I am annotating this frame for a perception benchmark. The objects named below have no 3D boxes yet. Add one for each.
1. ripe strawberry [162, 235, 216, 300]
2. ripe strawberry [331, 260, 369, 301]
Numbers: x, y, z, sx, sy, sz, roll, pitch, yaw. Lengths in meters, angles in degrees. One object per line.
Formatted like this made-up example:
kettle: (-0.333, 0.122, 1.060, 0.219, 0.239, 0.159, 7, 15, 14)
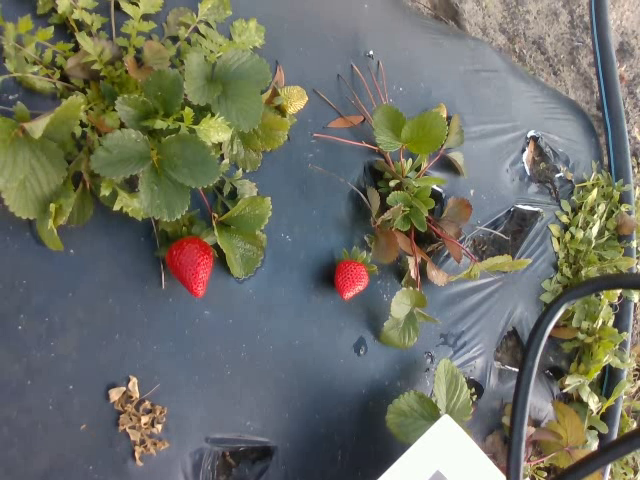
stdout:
ripe strawberry: (-0.101, 0.025, 0.462, 0.046, 0.050, 0.051, -29, -46, 9)
ripe strawberry: (0.027, 0.042, 0.553, 0.041, 0.045, 0.052, 5, 40, 17)
